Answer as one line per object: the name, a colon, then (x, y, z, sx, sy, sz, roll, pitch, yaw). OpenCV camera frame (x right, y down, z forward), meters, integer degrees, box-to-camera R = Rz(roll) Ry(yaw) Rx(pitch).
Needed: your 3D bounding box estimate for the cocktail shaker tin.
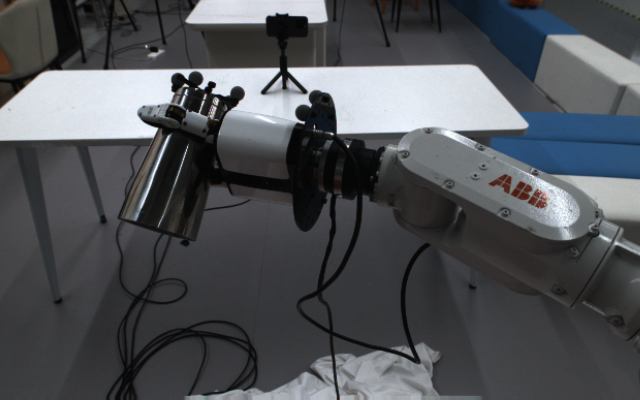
cocktail shaker tin: (-0.166, -0.047, 0.582, 0.093, 0.093, 0.170, 13, 77, 15)
